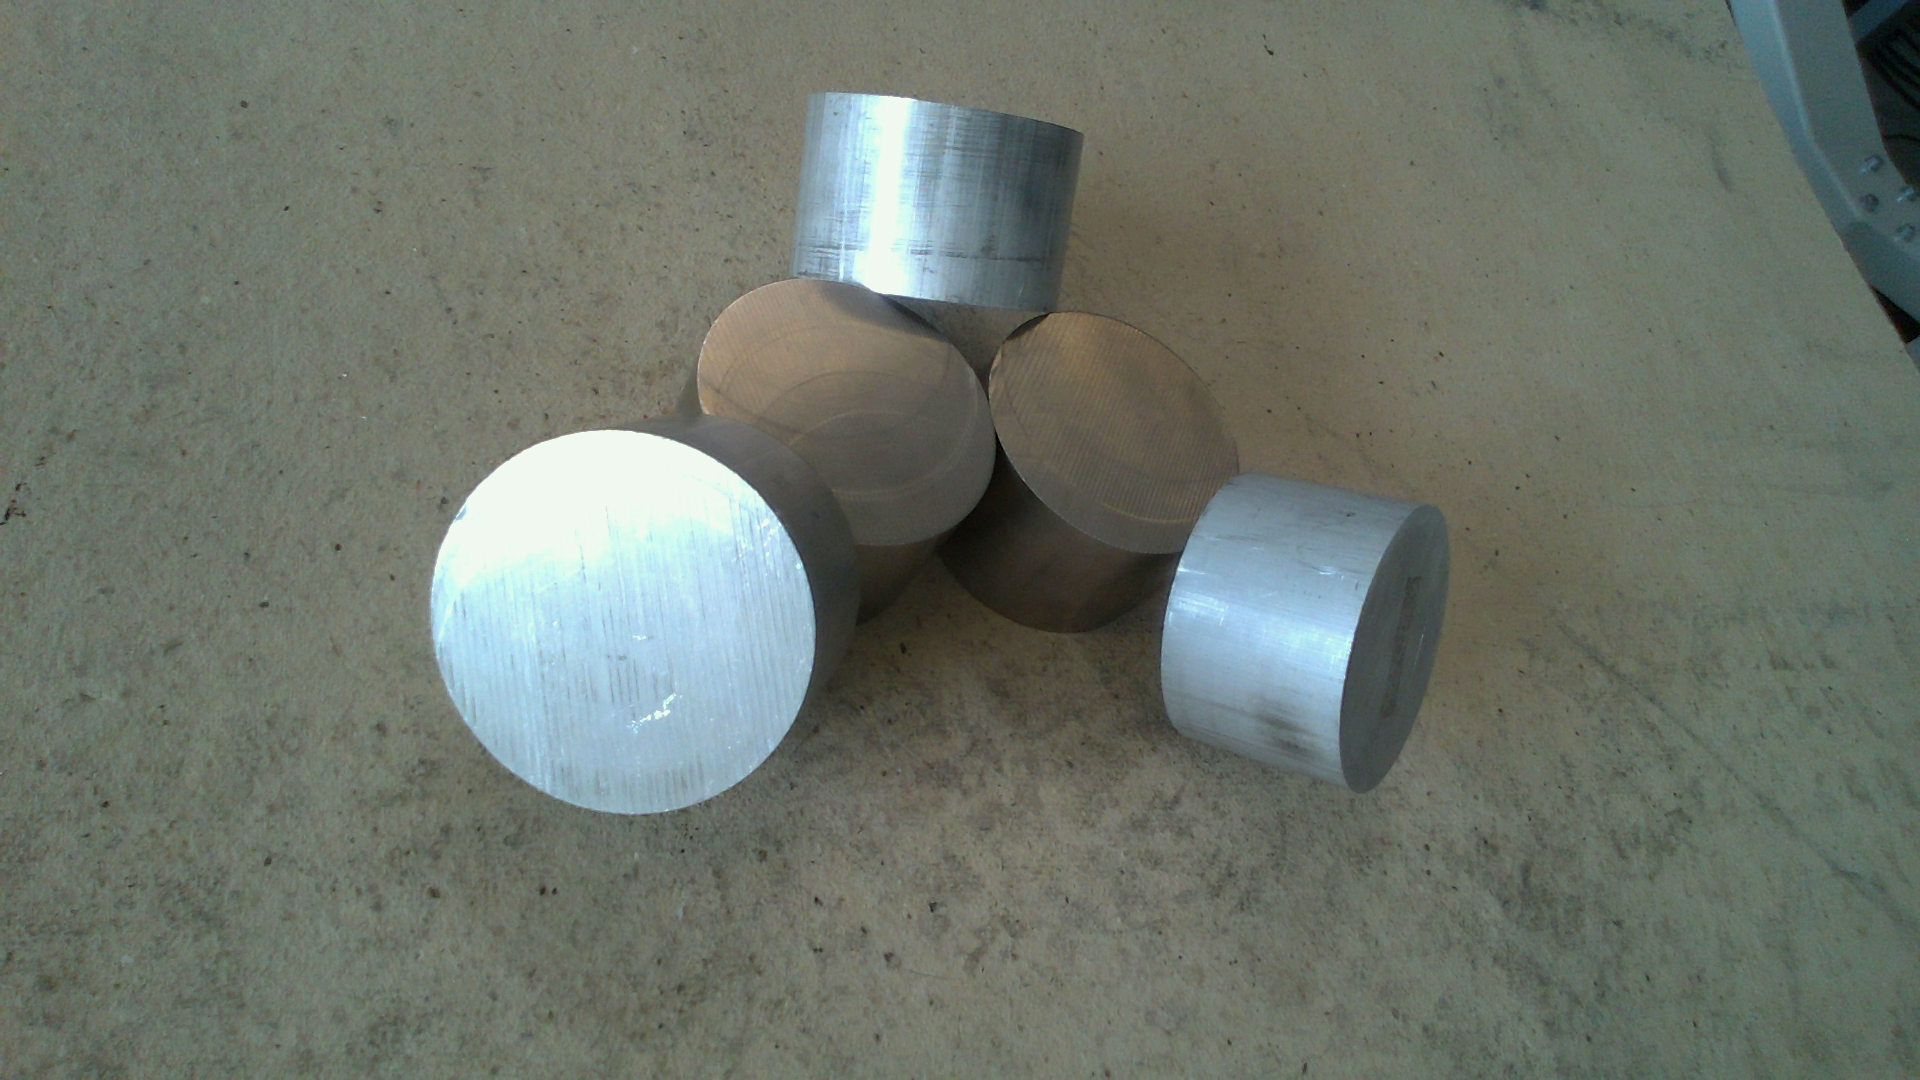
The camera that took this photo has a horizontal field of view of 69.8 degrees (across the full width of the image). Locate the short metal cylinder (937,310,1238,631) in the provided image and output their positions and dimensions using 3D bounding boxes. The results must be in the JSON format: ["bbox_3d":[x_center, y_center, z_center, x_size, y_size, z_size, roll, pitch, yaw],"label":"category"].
[{"bbox_3d":[0.034,-0.020,0.404,0.080,0.050,0.080,14,56,-21],"label":"short metal cylinder"}]

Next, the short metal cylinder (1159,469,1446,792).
[{"bbox_3d":[0.097,0.024,0.384,0.050,0.080,0.080,15,41,34],"label":"short metal cylinder"}]

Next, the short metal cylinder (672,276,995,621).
[{"bbox_3d":[-0.038,-0.023,0.367,0.080,0.050,0.080,14,56,-21],"label":"short metal cylinder"}]

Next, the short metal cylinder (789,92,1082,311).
[{"bbox_3d":[-0.008,-0.098,0.403,0.080,0.080,0.050,2,103,-27],"label":"short metal cylinder"}]

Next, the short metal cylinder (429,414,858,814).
[{"bbox_3d":[-0.066,0.013,0.302,0.080,0.080,0.050,40,11,-1],"label":"short metal cylinder"}]
